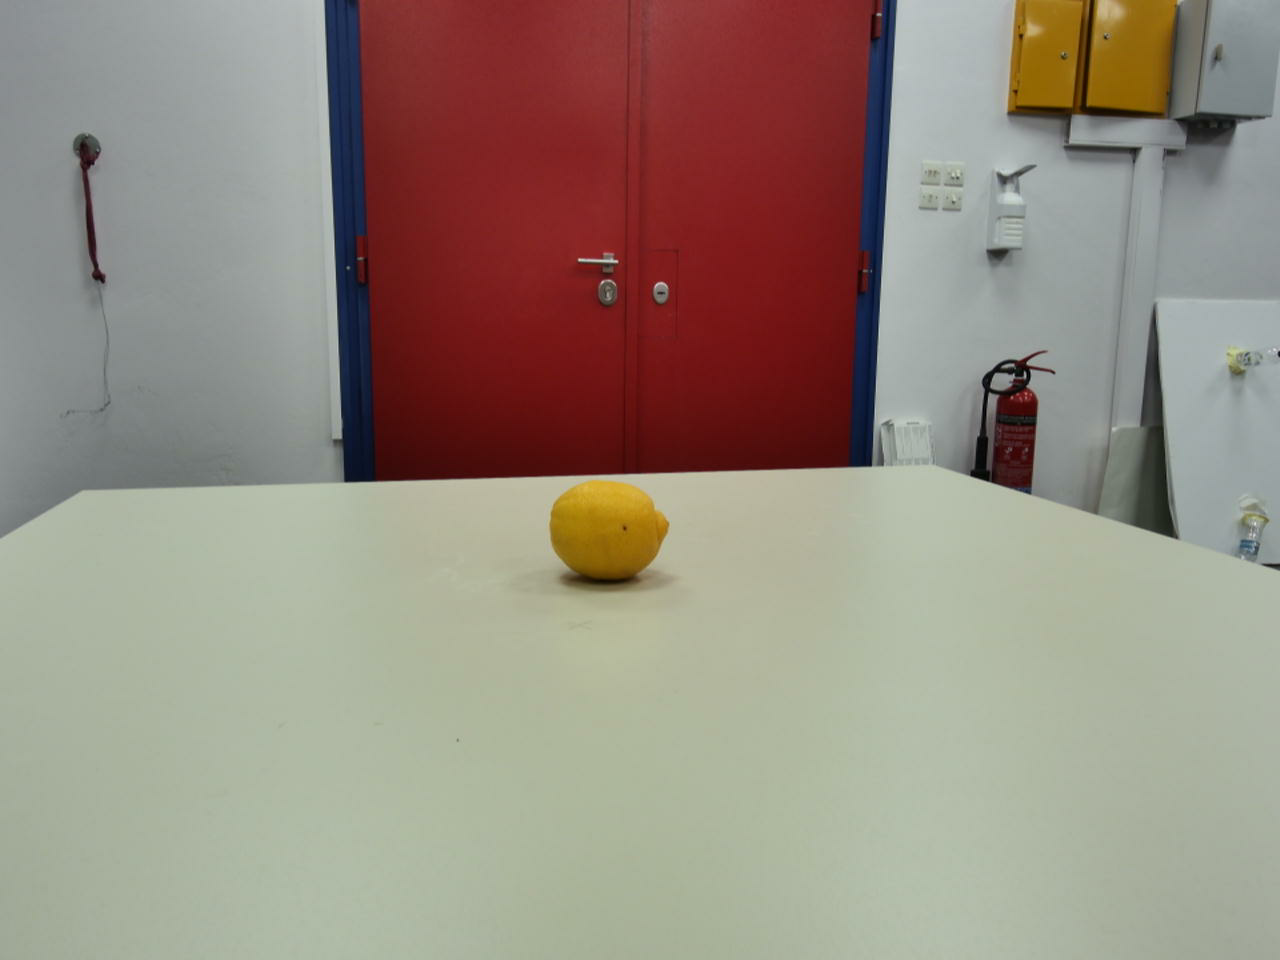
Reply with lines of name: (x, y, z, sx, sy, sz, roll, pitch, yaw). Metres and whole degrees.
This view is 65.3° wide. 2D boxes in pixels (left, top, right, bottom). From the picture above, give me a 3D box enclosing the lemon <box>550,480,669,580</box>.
lemon: (-0.020, 0.031, 0.600, 0.067, 0.059, 0.060, 5, 9, 29)
